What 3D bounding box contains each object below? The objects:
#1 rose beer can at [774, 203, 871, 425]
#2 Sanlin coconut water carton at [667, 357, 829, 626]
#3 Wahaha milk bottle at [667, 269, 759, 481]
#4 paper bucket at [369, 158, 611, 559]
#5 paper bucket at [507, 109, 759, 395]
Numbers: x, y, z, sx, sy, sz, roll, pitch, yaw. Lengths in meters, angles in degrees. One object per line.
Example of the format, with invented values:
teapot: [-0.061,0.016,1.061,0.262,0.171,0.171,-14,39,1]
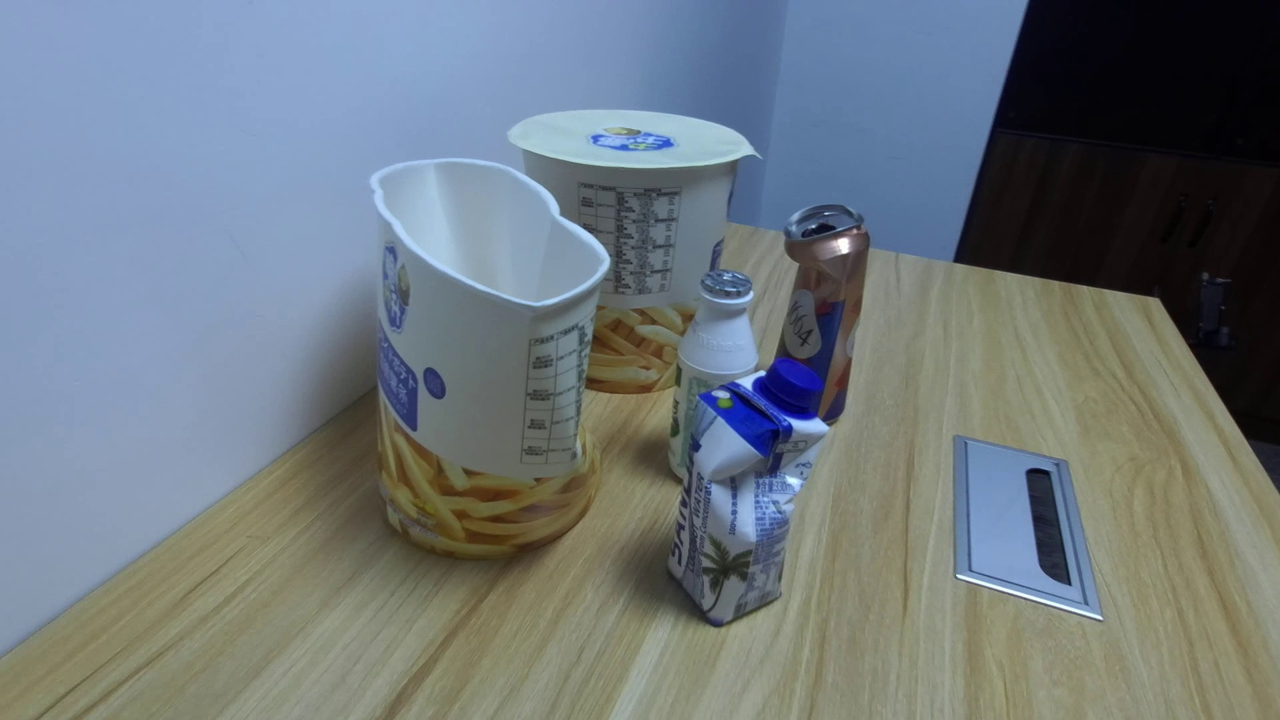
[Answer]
rose beer can: [0.135,-0.031,0.537,0.069,0.168,0.070,23,39,33]
Sanlin coconut water carton: [0.056,0.070,0.376,0.070,0.144,0.060,-13,35,-28]
Wahaha milk bottle: [0.050,0.014,0.465,0.053,0.147,0.053,2,31,-1]
paper bucket: [-0.094,-0.003,0.430,0.217,0.199,0.148,23,35,29]
paper bucket: [-0.011,-0.092,0.595,0.198,0.195,0.198,2,30,-1]
